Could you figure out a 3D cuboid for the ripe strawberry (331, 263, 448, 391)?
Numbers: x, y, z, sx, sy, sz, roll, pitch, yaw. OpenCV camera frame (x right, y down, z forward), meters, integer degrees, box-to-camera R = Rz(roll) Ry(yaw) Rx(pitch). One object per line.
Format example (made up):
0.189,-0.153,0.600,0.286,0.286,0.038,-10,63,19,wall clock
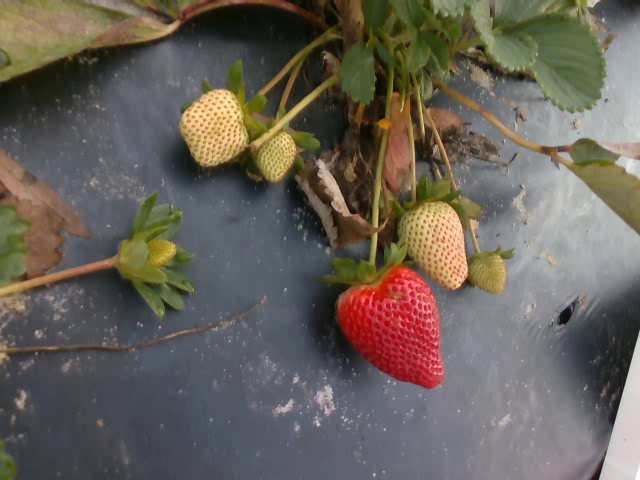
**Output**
0.034,0.037,0.272,0.050,0.059,0.033,-32,-10,-31,ripe strawberry
